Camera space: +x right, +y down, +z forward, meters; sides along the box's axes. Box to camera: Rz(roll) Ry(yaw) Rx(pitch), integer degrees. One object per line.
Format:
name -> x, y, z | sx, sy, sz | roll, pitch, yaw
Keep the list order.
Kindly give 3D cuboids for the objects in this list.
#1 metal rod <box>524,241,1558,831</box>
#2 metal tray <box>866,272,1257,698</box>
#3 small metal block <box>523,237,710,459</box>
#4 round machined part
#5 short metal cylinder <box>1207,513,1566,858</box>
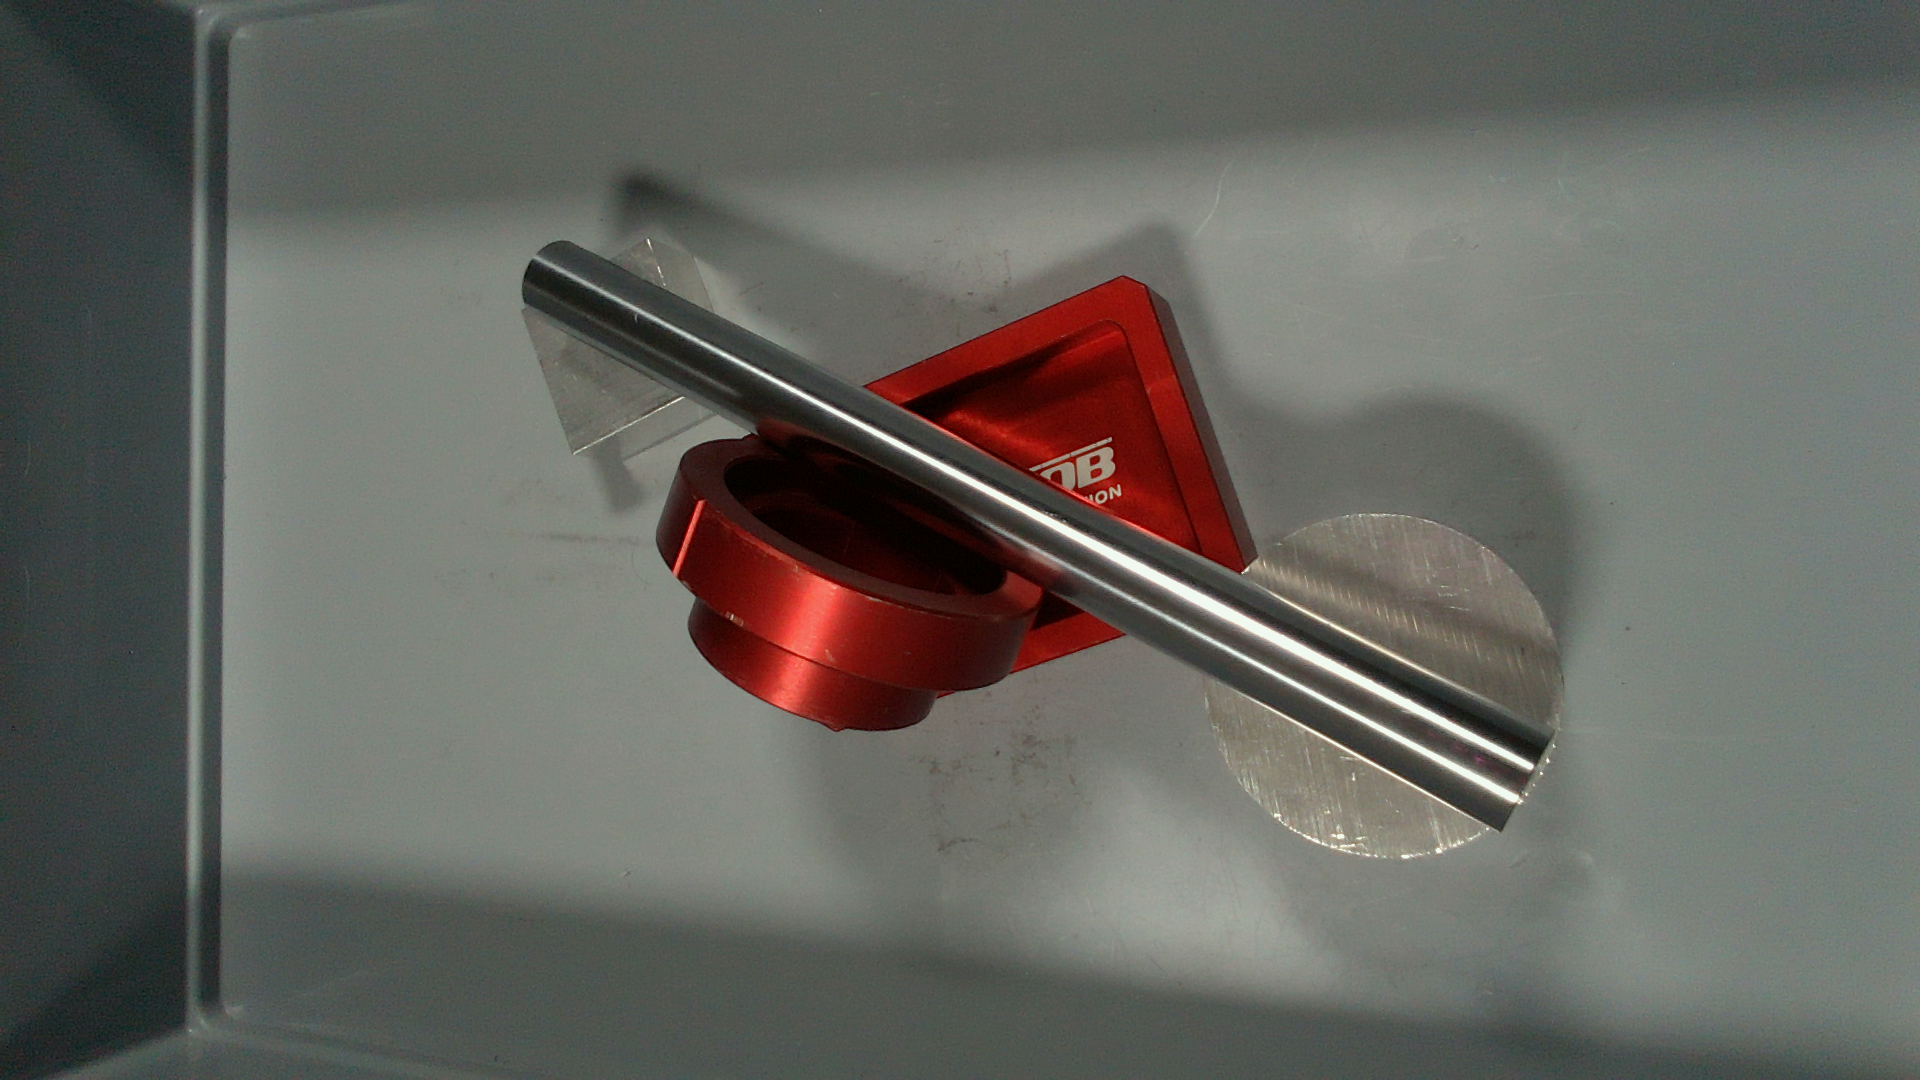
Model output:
metal rod -> 0.000, -0.014, 0.351 | 0.299, 0.025, 0.025 | 28, 99, 24
metal tray -> 0.009, -0.008, 0.388 | 0.130, 0.030, 0.090 | -21, 83, 19
small metal block -> -0.103, -0.059, 0.432 | 0.050, 0.025, 0.050 | -24, 82, 18
round machined part -> -0.032, 0.014, 0.354 | 0.098, 0.098, 0.042 | 29, 107, 18
short metal cylinder -> 0.106, 0.034, 0.343 | 0.080, 0.050, 0.080 | 0, 90, 20
